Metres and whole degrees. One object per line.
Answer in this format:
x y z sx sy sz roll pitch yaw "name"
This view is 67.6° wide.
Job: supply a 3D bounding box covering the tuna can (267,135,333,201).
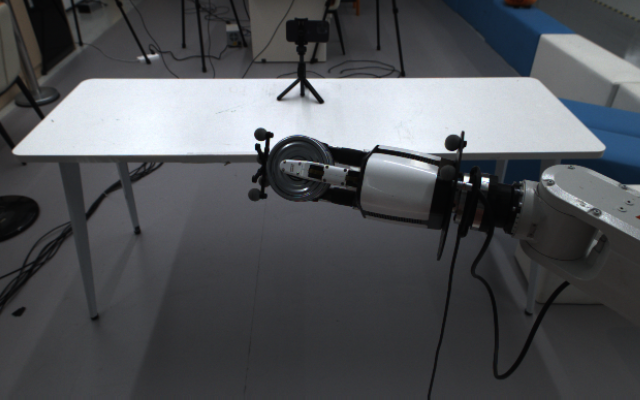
-0.024 -0.042 0.627 0.085 0.085 0.034 10 2 11 "tuna can"
